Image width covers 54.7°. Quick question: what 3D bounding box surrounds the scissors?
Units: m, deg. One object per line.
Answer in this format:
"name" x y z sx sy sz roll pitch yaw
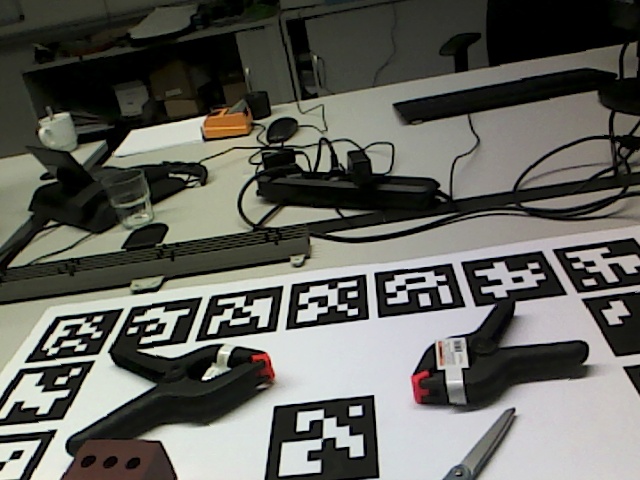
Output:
"scissors" 0.103 0.200 0.507 0.088 0.016 0.202 21 41 35

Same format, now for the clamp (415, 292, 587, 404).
"clamp" 0.166 0.118 0.626 0.164 0.036 0.123 -23 37 -18

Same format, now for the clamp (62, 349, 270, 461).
"clamp" -0.156 0.159 0.668 0.203 0.036 0.166 -10 25 2

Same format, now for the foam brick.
"foam brick" -0.176 0.223 0.548 0.078 0.051 0.053 -9 29 15
